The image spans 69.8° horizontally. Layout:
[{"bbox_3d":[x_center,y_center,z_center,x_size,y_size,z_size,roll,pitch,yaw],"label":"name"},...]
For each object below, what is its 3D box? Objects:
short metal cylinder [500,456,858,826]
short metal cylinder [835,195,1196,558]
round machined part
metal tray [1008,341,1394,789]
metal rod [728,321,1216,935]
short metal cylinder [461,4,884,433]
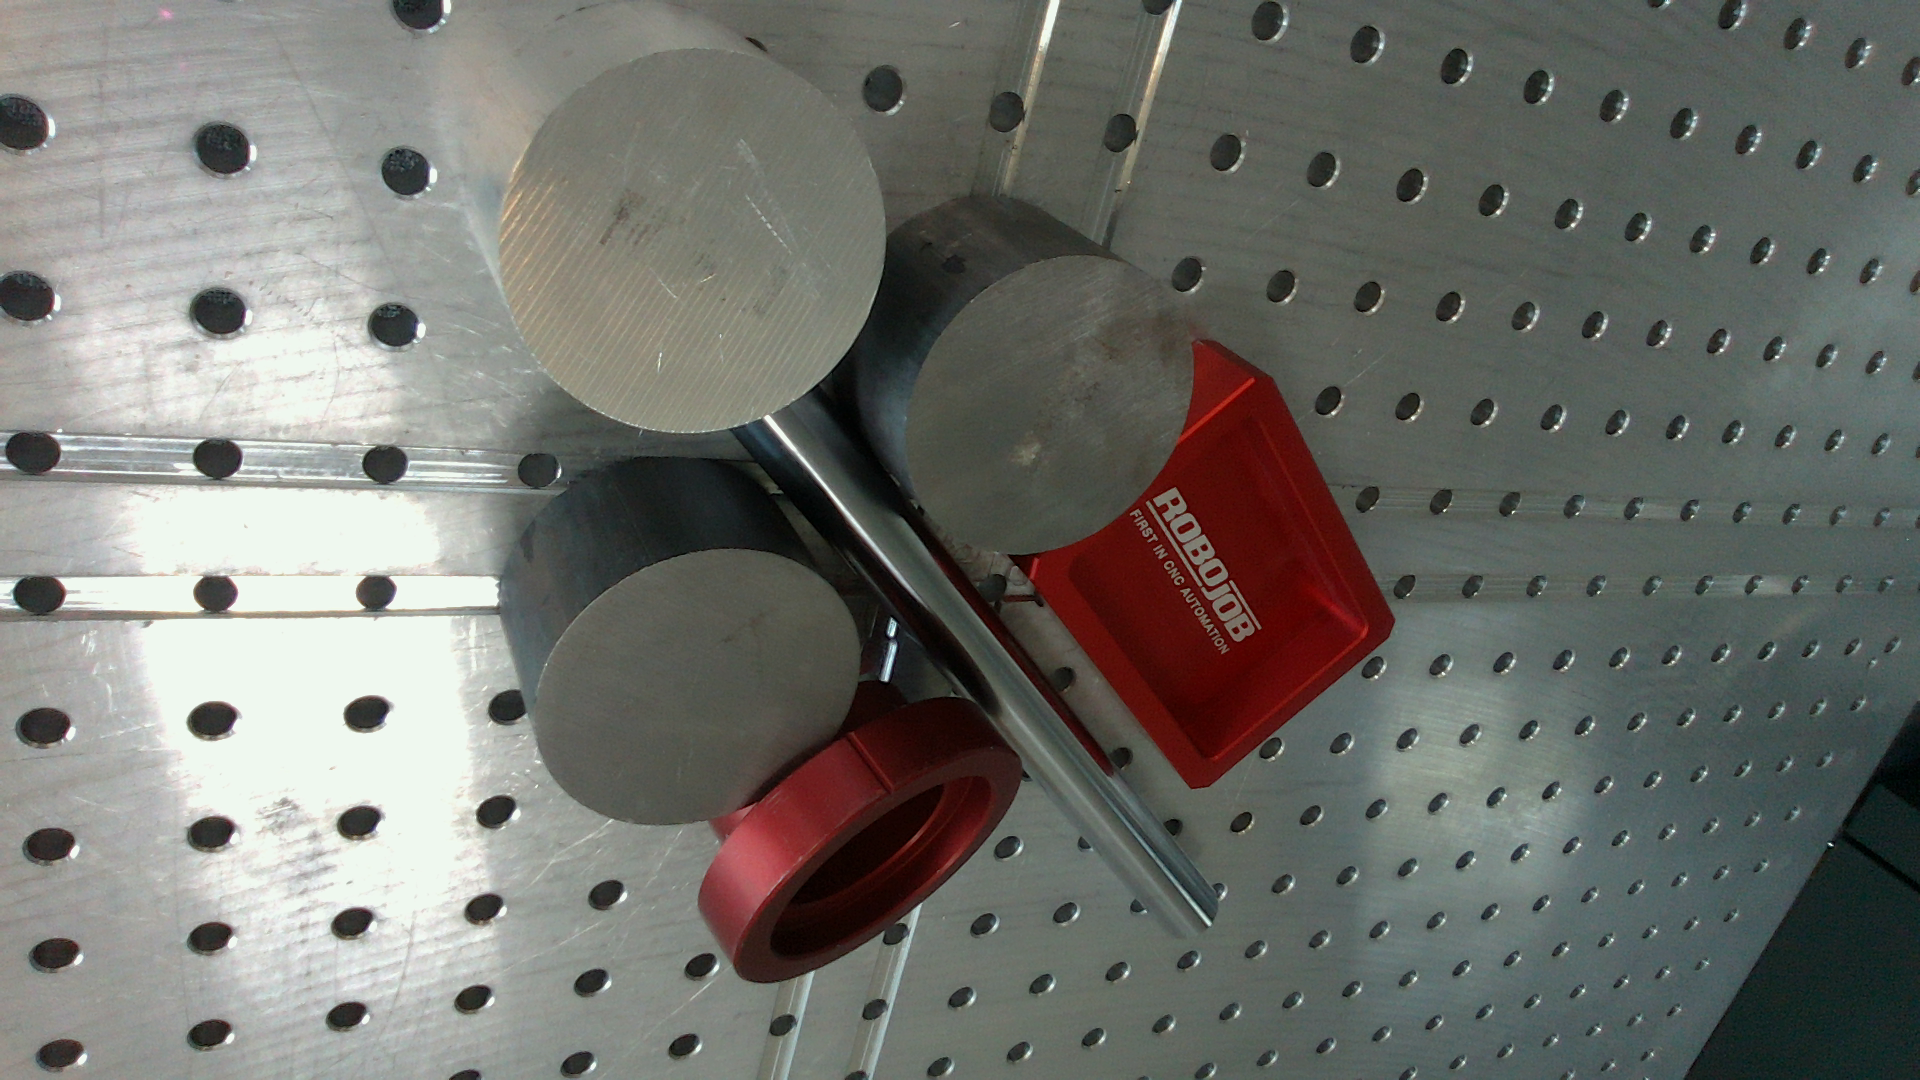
[{"bbox_3d":[-0.073,0.025,0.352,0.080,0.050,0.080,-14,124,-21],"label":"short metal cylinder"},{"bbox_3d":[0.013,-0.043,0.356,0.080,0.050,0.080,-14,124,-21],"label":"short metal cylinder"},{"bbox_3d":[-0.034,0.078,0.397,0.098,0.042,0.098,-32,151,-20],"label":"round machined part"},{"bbox_3d":[0.077,0.012,0.437,0.090,0.030,0.130,-39,129,-1],"label":"metal tray"},{"bbox_3d":[0.014,0.047,0.429,0.025,0.025,0.301,-39,129,-2],"label":"metal rod"},{"bbox_3d":[-0.063,-0.070,0.299,0.080,0.050,0.080,-14,124,-21],"label":"short metal cylinder"}]
